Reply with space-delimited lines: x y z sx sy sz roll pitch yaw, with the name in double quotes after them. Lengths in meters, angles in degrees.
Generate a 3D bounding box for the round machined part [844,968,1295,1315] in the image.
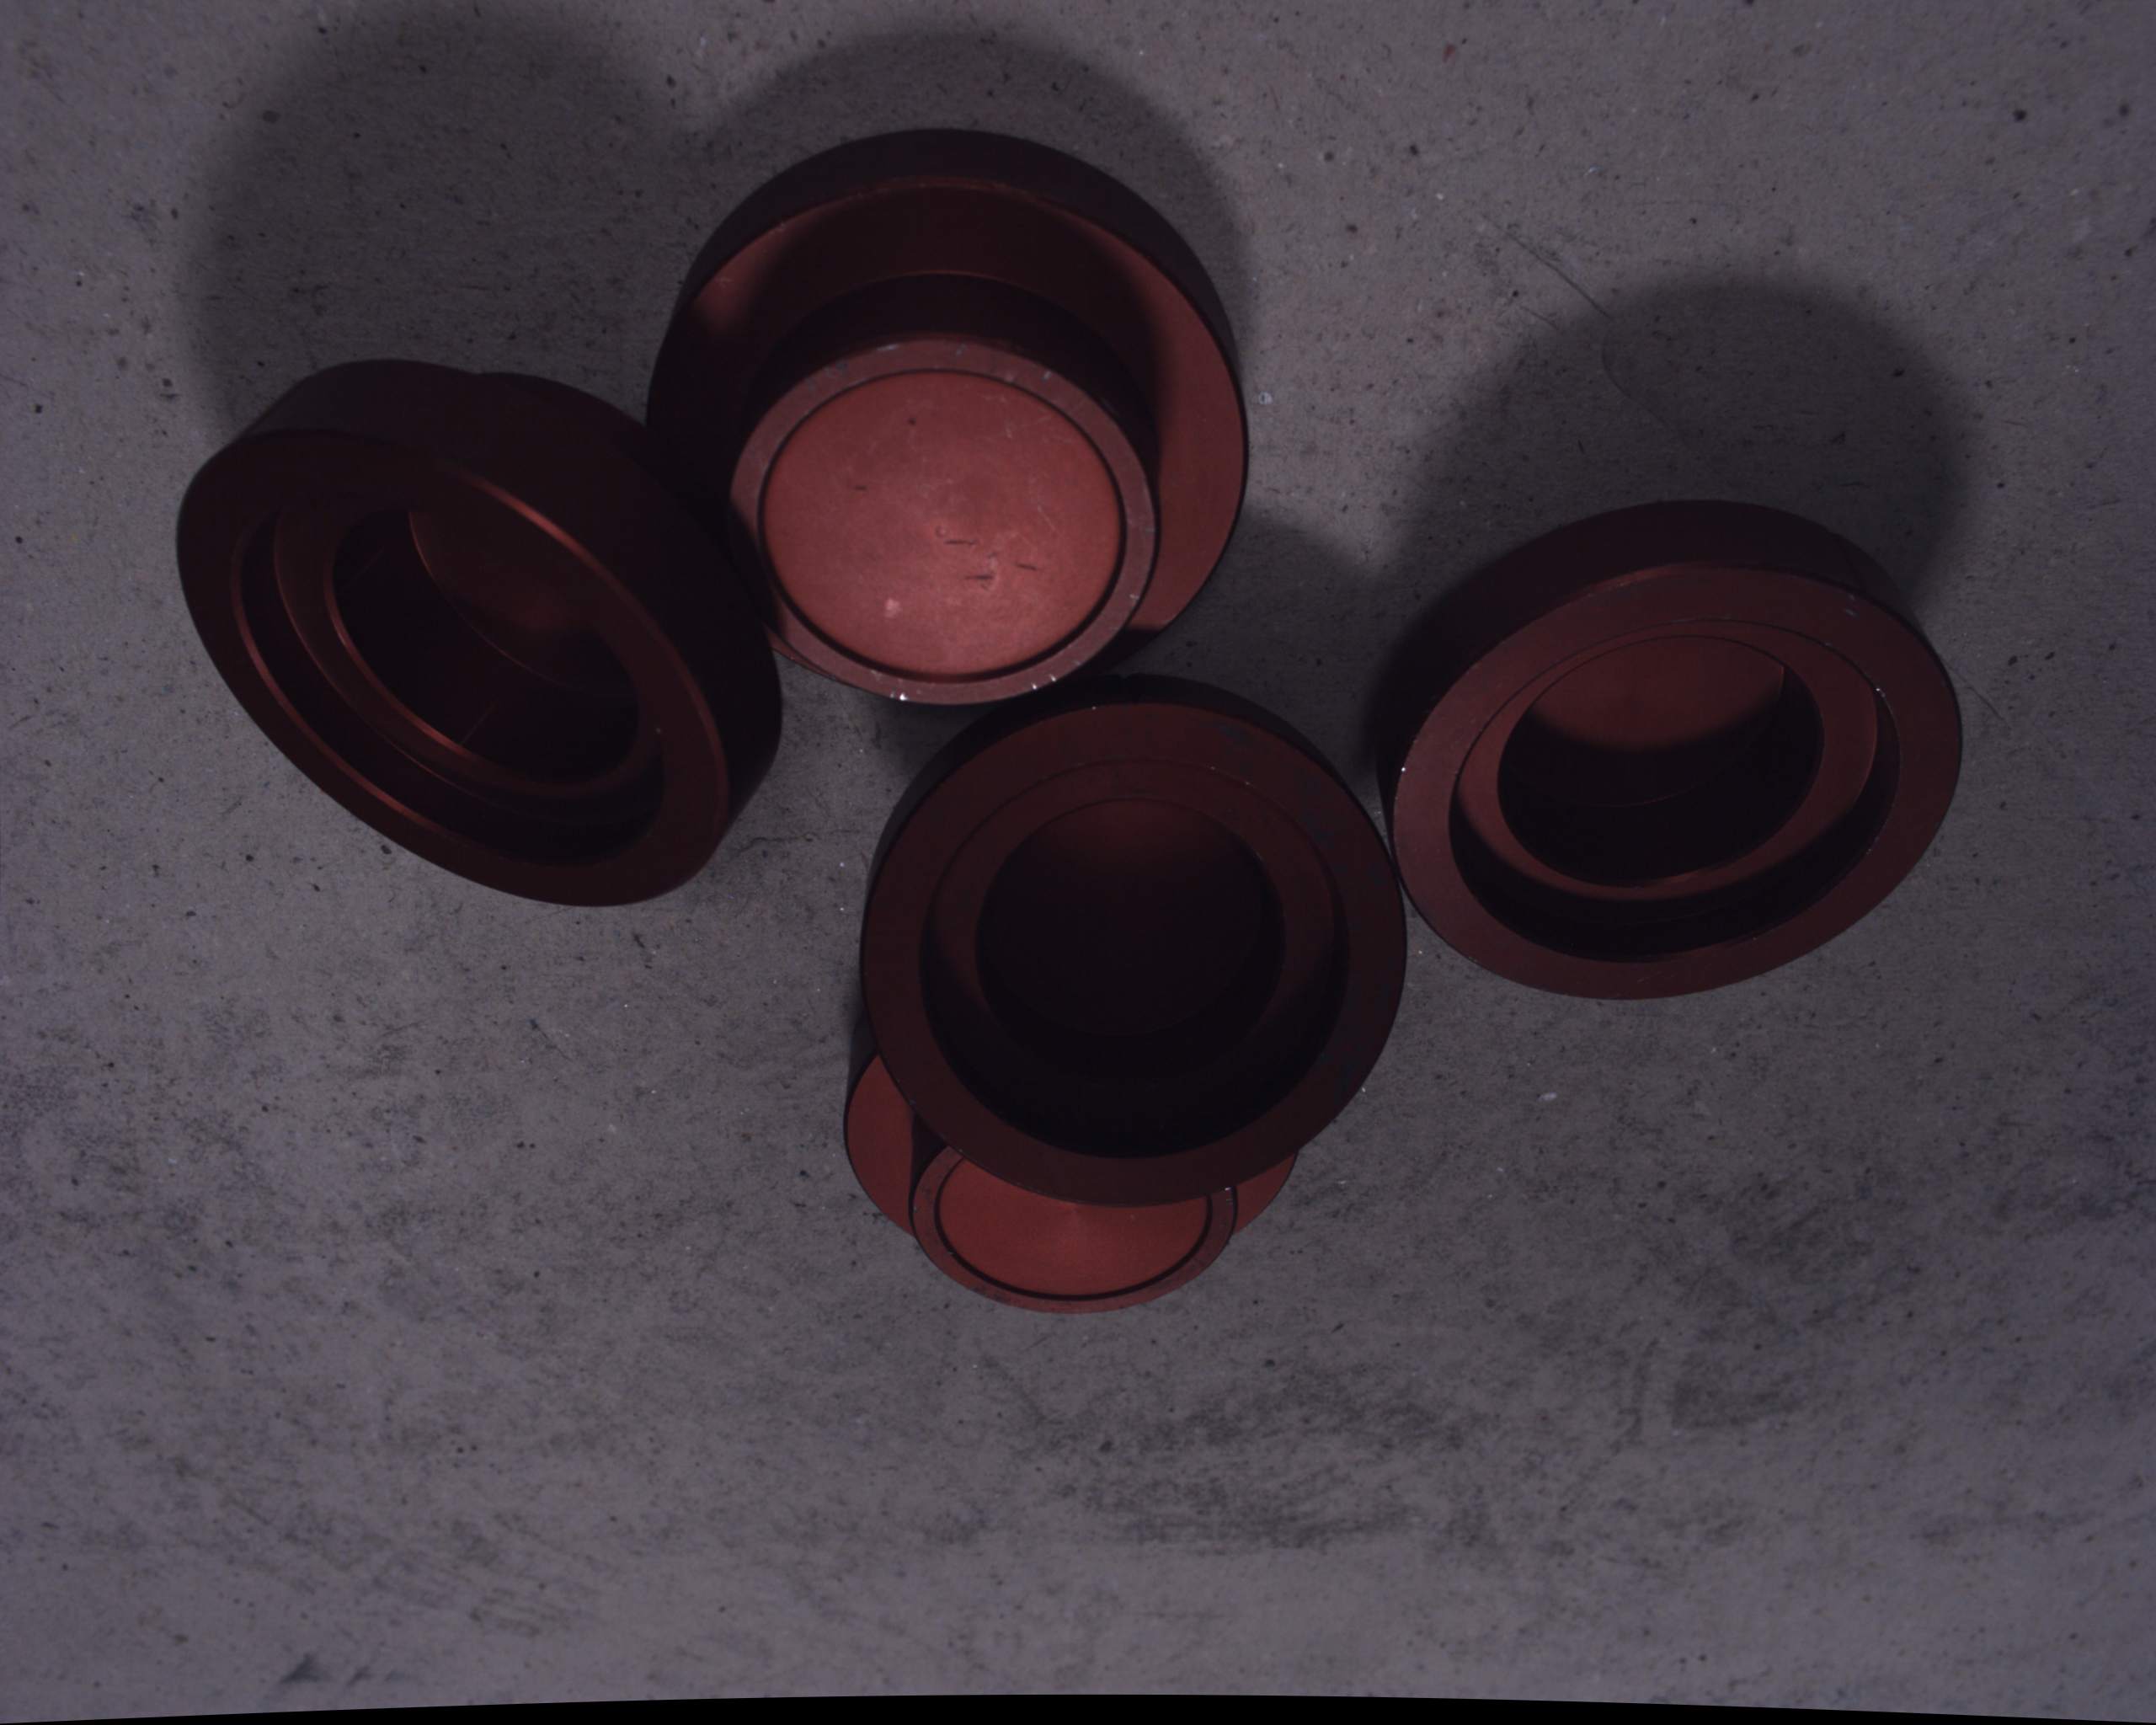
-0.001 0.060 0.448 0.099 0.042 0.097 -1 130 0 "round machined part"

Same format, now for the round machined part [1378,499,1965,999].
0.104 -0.024 0.379 0.099 0.042 0.097 -1 130 0 "round machined part"

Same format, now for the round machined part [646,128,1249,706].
-0.021 -0.065 0.341 0.099 0.042 0.097 -1 130 0 "round machined part"

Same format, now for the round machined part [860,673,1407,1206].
0.009 0.012 0.394 0.099 0.042 0.097 -1 107 -3 "round machined part"

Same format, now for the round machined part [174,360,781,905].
-0.094 -0.041 0.347 0.098 0.042 0.097 15 139 14 "round machined part"
